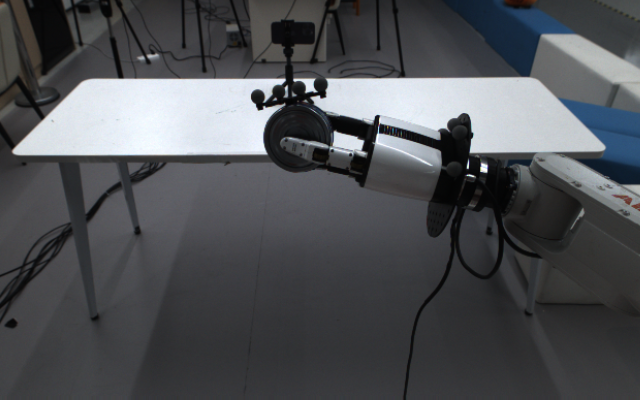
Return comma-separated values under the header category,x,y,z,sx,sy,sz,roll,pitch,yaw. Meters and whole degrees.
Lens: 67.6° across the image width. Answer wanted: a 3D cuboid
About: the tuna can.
category,x,y,z,sx,sy,sz,roll,pitch,yaw
tuna can,-0.023,-0.073,0.604,0.085,0.085,0.034,6,18,5
